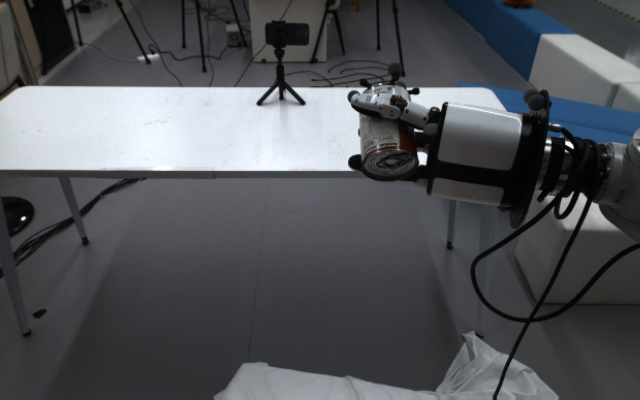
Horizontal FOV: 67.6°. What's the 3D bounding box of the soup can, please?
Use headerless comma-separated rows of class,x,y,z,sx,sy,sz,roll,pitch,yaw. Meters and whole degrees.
soup can,0.083,-0.083,0.594,0.067,0.067,0.101,1,62,-2
